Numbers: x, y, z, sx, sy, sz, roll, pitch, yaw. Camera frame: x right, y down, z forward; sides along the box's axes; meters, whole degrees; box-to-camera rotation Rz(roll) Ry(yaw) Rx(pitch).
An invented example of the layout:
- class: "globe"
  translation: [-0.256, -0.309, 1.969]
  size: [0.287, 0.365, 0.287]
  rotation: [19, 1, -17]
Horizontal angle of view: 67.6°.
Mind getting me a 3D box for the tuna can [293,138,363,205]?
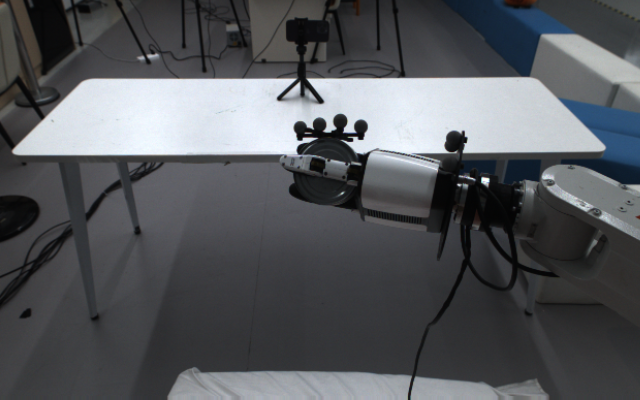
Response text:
- class: "tuna can"
  translation: [0.012, -0.036, 0.618]
  size: [0.085, 0.085, 0.034]
  rotation: [13, -2, 15]
